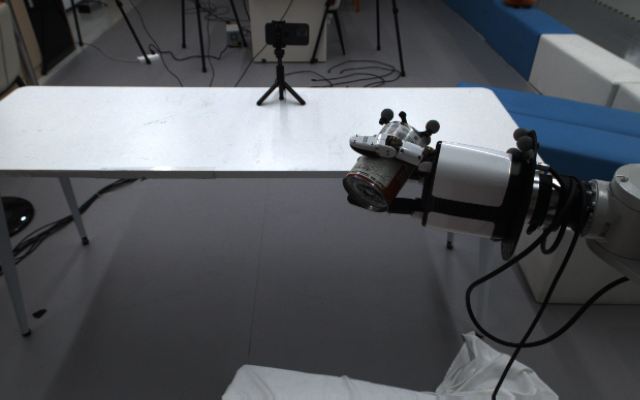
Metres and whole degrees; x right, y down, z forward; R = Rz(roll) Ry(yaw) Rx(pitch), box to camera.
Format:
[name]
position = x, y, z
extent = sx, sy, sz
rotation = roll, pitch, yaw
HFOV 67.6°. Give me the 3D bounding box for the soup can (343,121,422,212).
[soup can]
position = 0.085, -0.046, 0.625
extent = 0.067, 0.067, 0.101
rotation = 26, 66, 30
